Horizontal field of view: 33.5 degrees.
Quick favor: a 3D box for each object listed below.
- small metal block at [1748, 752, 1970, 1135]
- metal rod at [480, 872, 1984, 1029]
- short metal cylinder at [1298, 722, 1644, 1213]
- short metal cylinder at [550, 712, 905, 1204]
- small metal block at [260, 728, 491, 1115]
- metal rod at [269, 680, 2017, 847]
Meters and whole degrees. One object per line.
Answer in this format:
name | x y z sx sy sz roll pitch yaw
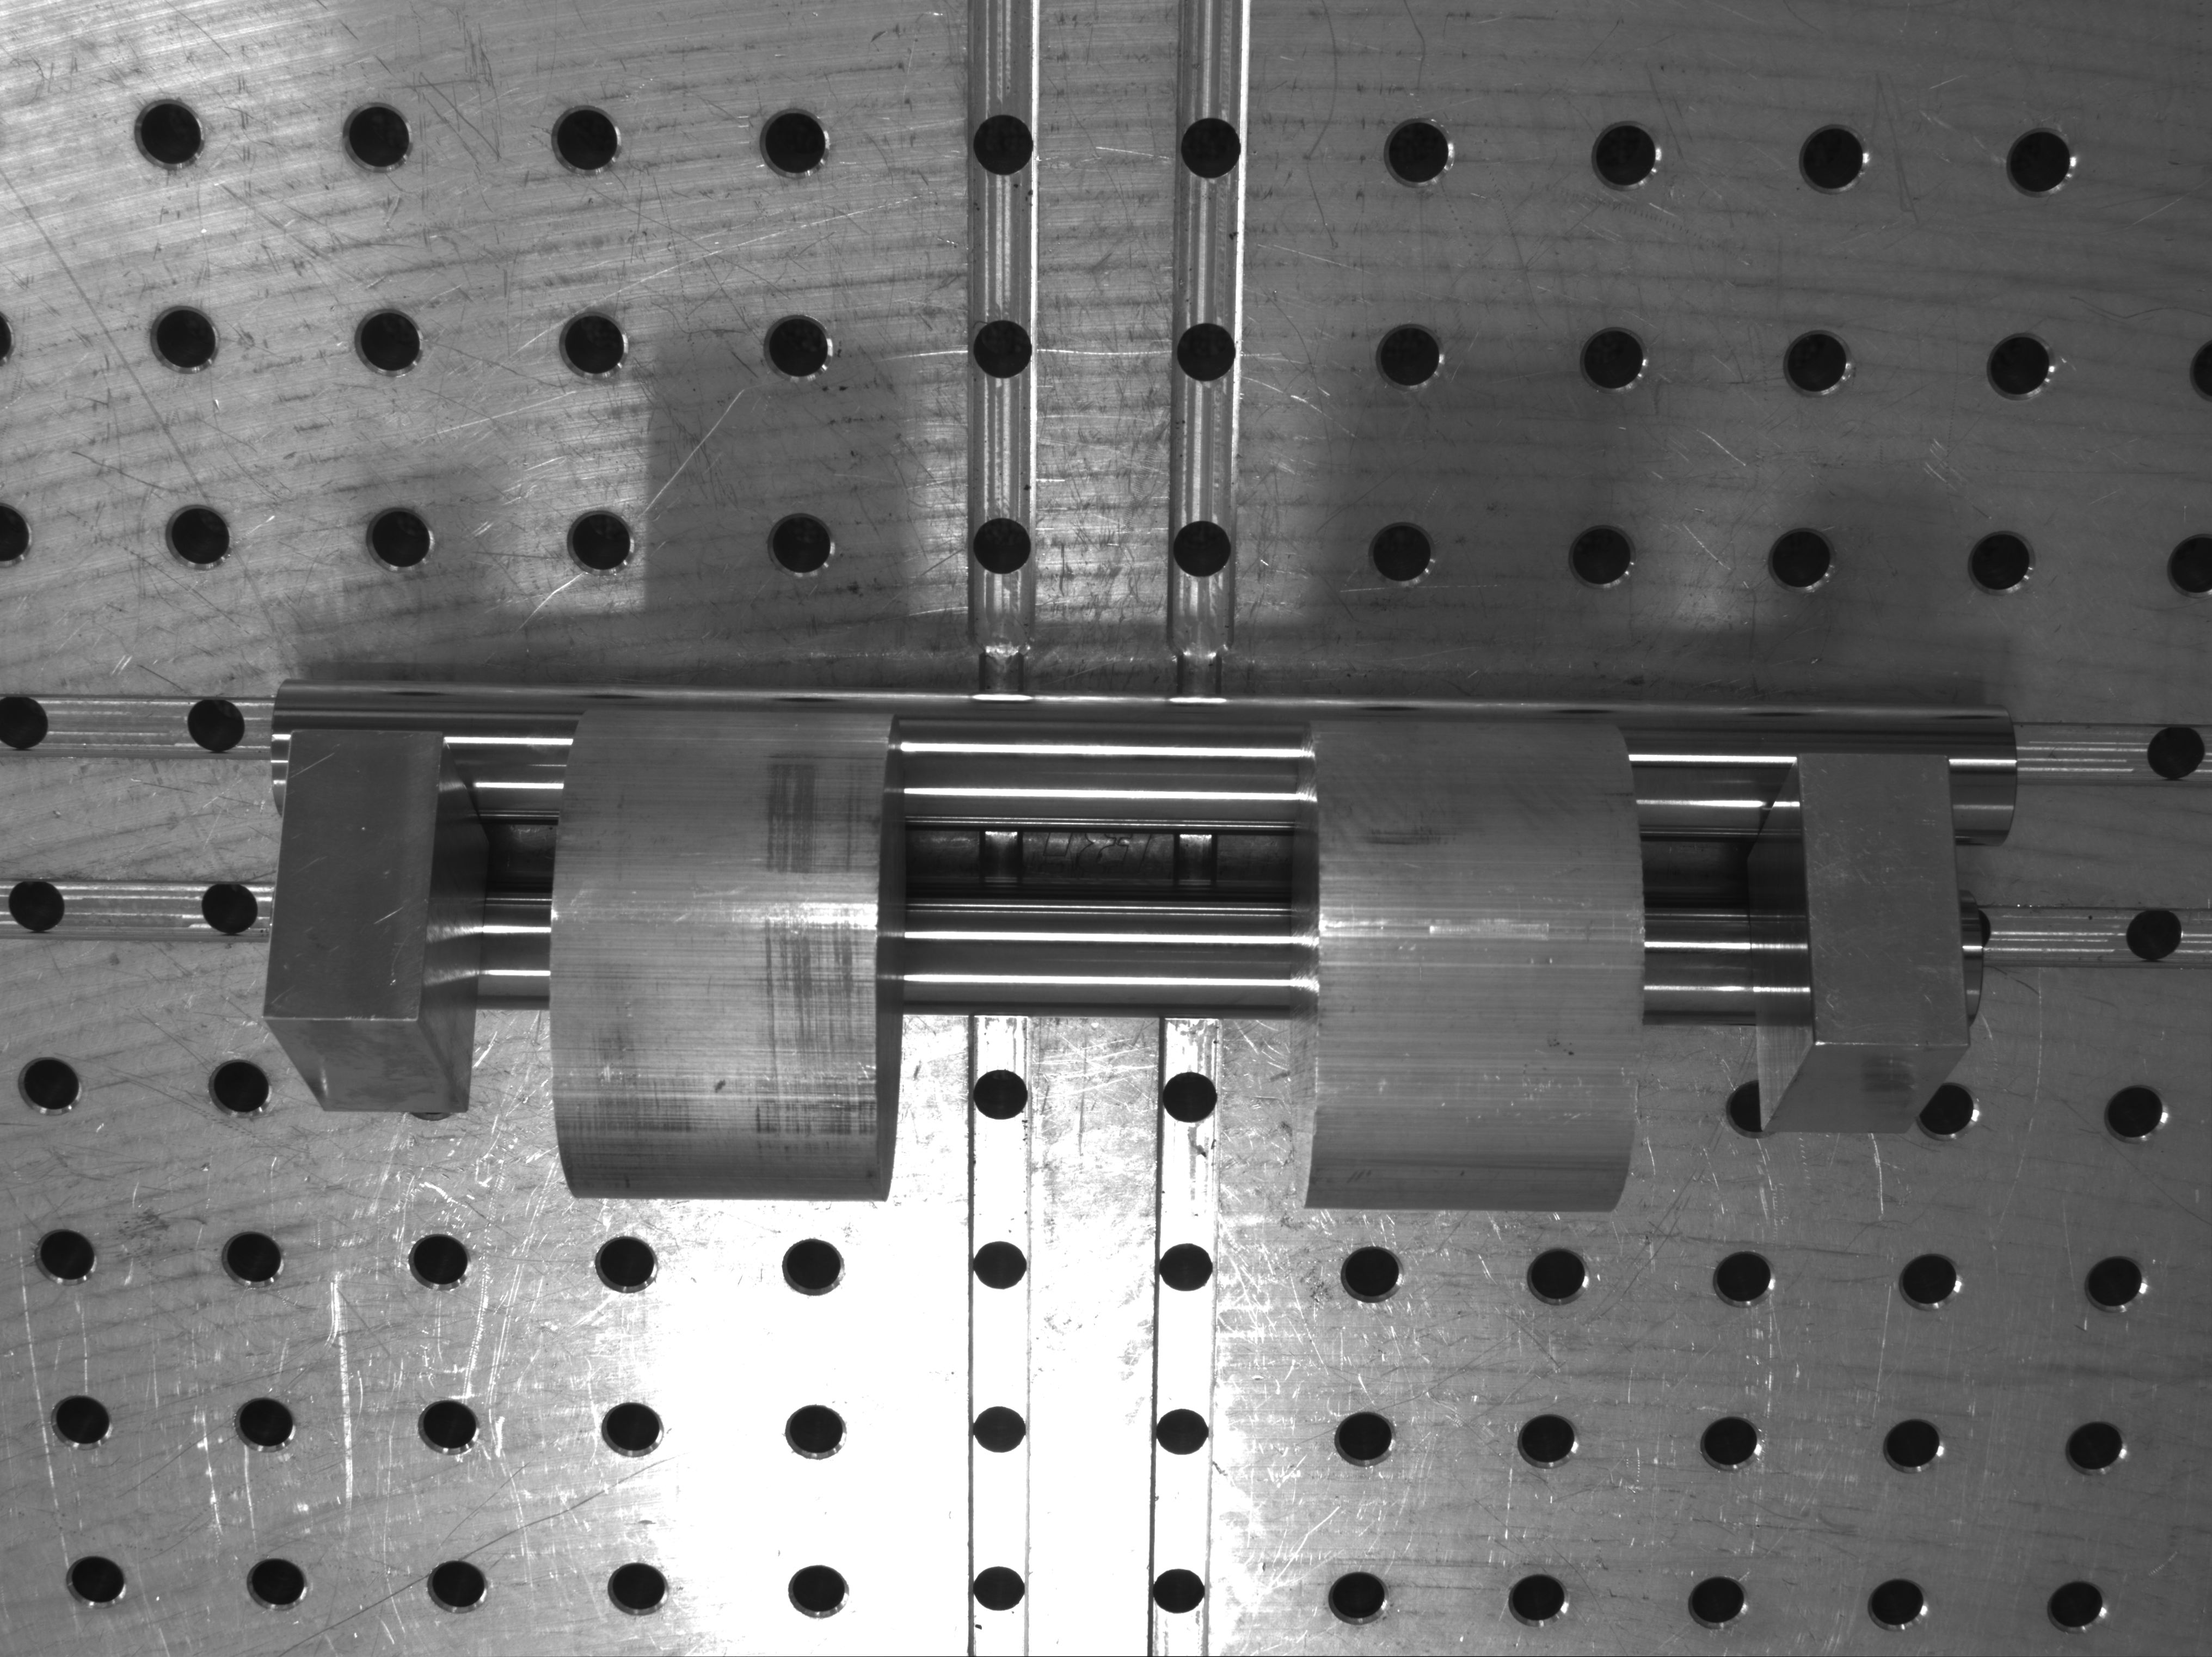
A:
small metal block | 0.125 0.020 0.617 0.025 0.050 0.050 1 69 1
metal rod | 0.004 0.022 0.655 0.300 0.025 0.025 1 110 0
short metal cylinder | 0.057 0.023 0.603 0.050 0.080 0.080 1 110 0
short metal cylinder | -0.060 0.021 0.602 0.050 0.080 0.080 1 110 0
small metal block | -0.121 0.016 0.615 0.025 0.050 0.050 1 68 0
metal rod | 0.007 -0.011 0.643 0.300 0.025 0.025 1 110 0
